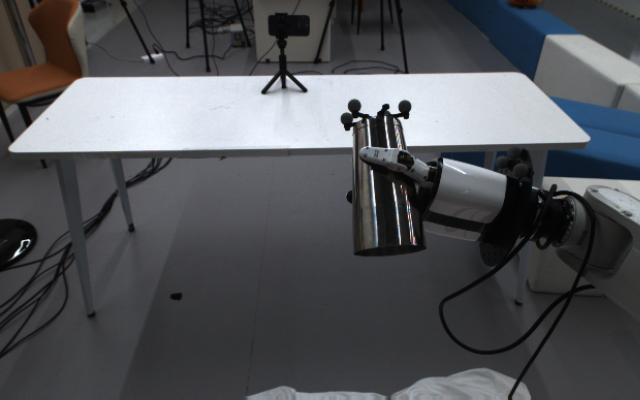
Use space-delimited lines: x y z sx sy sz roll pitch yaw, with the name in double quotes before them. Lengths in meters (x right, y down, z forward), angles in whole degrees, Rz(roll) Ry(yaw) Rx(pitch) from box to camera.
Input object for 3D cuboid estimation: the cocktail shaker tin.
"cocktail shaker tin" 0.083 -0.018 0.628 0.093 0.093 0.170 -3 76 -8
